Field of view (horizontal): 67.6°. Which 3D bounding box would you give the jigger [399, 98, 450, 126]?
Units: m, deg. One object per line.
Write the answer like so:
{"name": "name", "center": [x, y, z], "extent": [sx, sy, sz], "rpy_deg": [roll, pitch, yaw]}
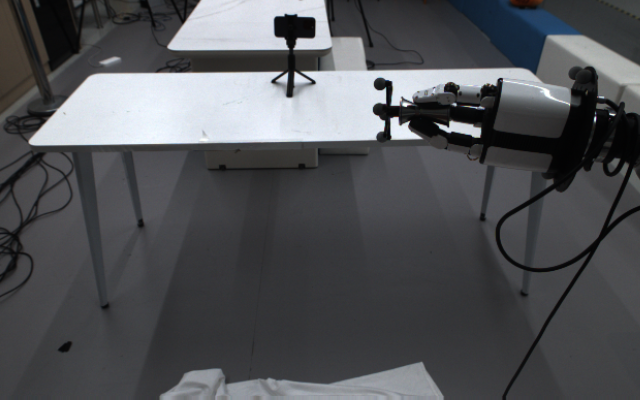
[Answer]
{"name": "jigger", "center": [0.153, -0.128, 0.676], "extent": [0.071, 0.043, 0.043], "rpy_deg": [2, 34, 14]}
